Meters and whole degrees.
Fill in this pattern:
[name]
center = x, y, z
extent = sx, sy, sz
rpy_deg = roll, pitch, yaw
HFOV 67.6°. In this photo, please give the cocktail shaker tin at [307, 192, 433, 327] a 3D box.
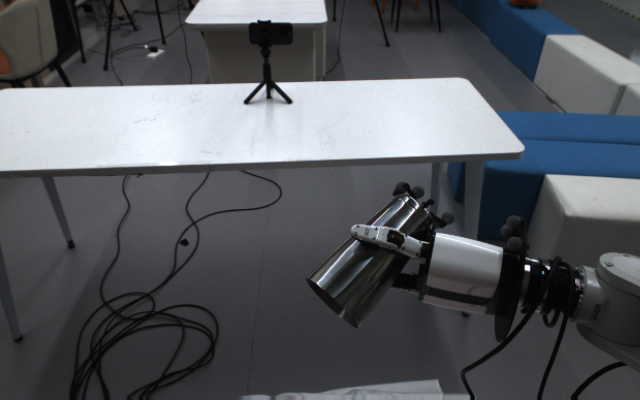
[cocktail shaker tin]
center = 0.072, 0.068, 0.638
extent = 0.170, 0.093, 0.093
rpy_deg = -43, 50, -14
